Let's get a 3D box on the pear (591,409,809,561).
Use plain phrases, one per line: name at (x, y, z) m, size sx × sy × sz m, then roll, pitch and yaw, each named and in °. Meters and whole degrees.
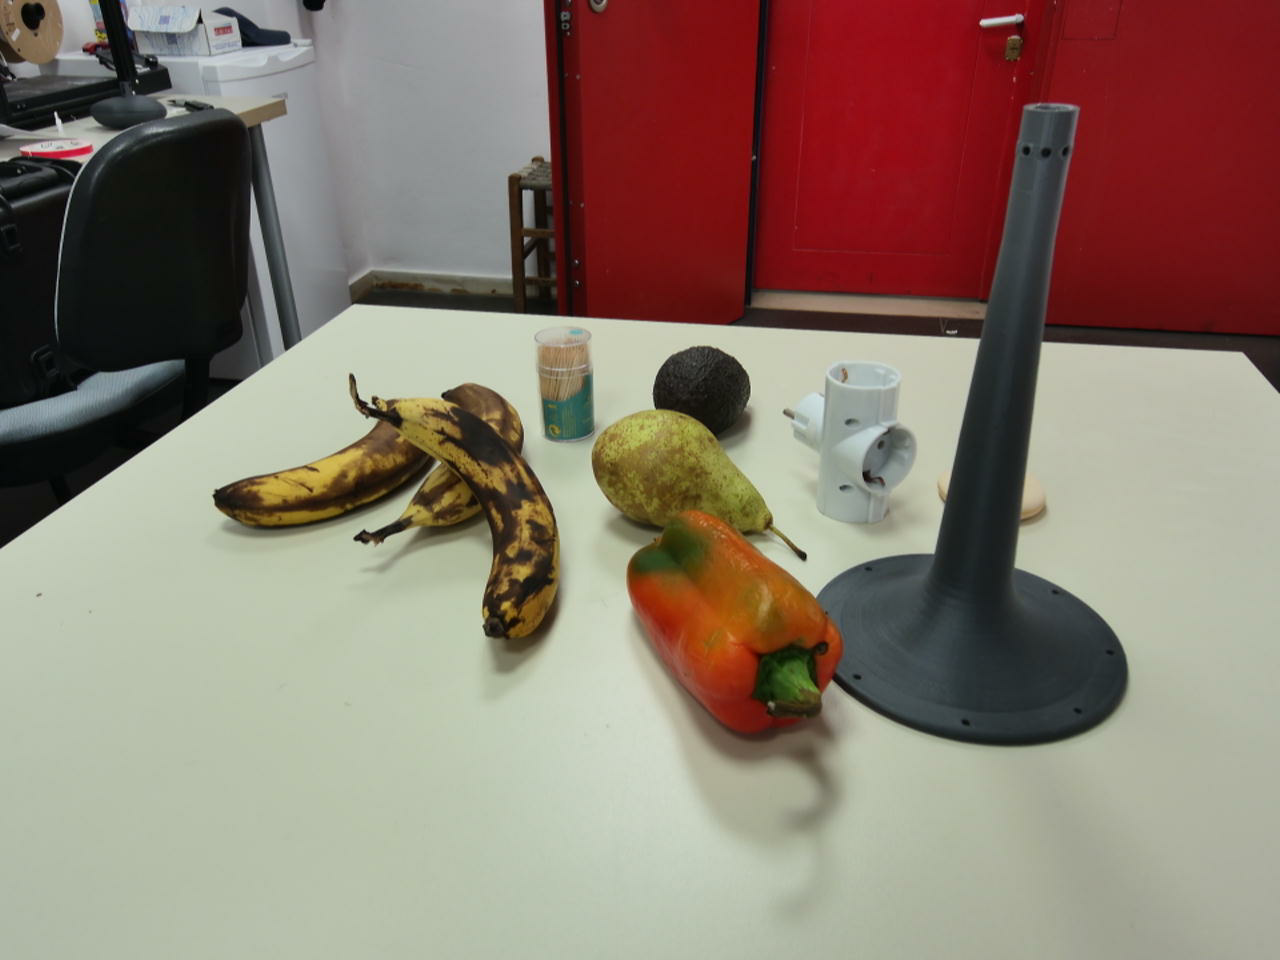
pear at (0.035, -0.005, 0.600) m, size 0.128 × 0.075 × 0.071 m, roll 2°, pitch 26°, yaw 4°
